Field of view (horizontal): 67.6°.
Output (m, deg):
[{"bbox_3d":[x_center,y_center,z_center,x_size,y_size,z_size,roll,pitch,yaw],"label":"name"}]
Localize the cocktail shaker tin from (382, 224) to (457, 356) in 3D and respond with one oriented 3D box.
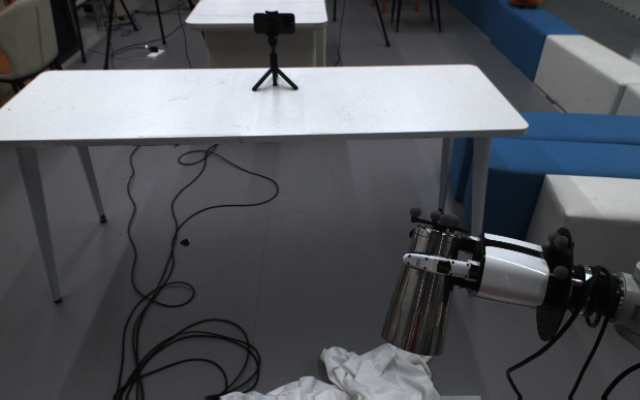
[{"bbox_3d":[0.155,0.124,0.709,0.093,0.170,0.093,12,3,-1],"label":"cocktail shaker tin"}]
